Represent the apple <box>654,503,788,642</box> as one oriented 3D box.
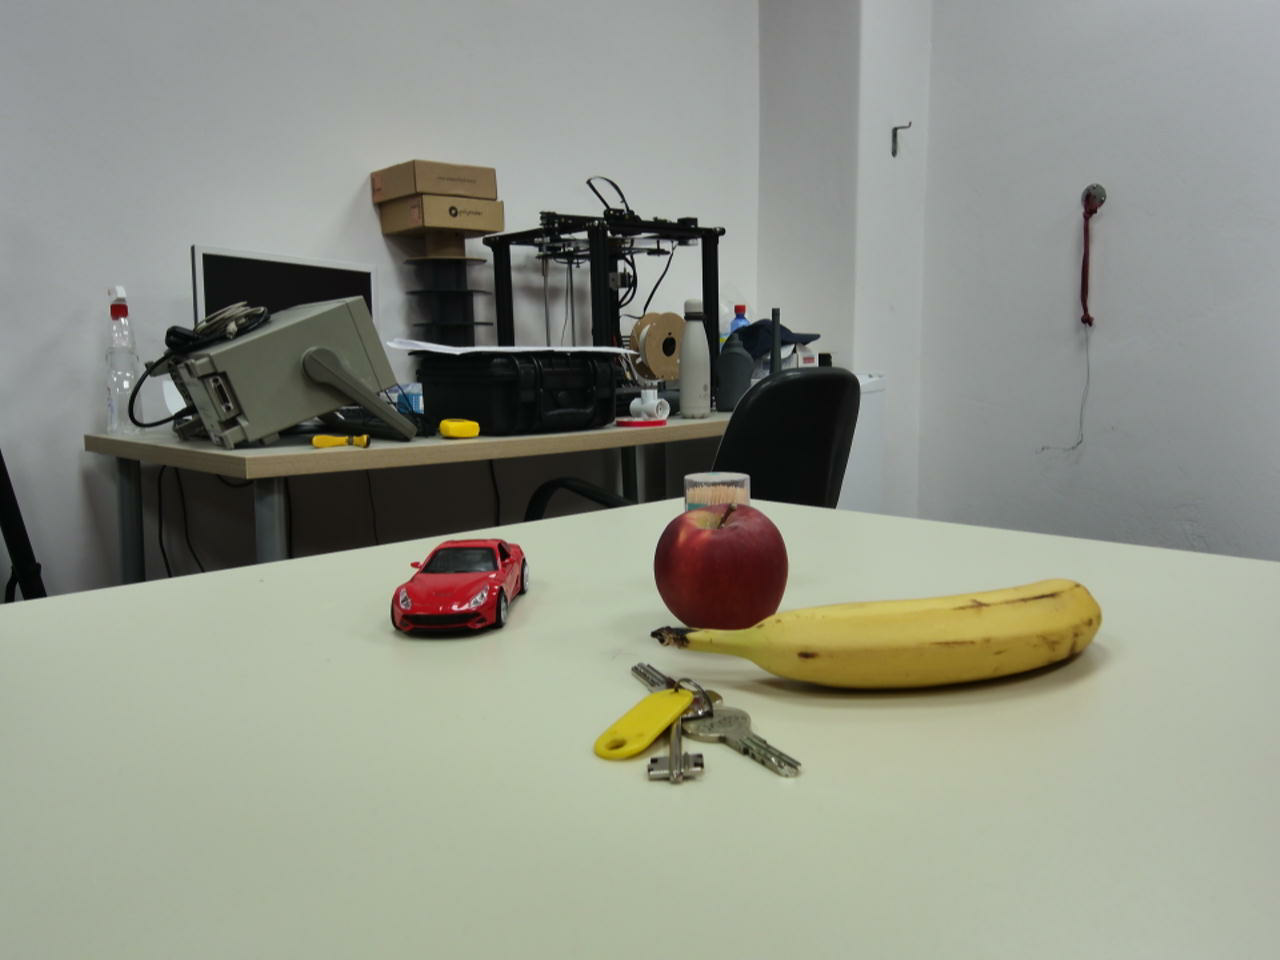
[{"bbox_3d":[0.042,0.046,0.520,0.070,0.072,0.070,0,5,0],"label":"apple"}]
